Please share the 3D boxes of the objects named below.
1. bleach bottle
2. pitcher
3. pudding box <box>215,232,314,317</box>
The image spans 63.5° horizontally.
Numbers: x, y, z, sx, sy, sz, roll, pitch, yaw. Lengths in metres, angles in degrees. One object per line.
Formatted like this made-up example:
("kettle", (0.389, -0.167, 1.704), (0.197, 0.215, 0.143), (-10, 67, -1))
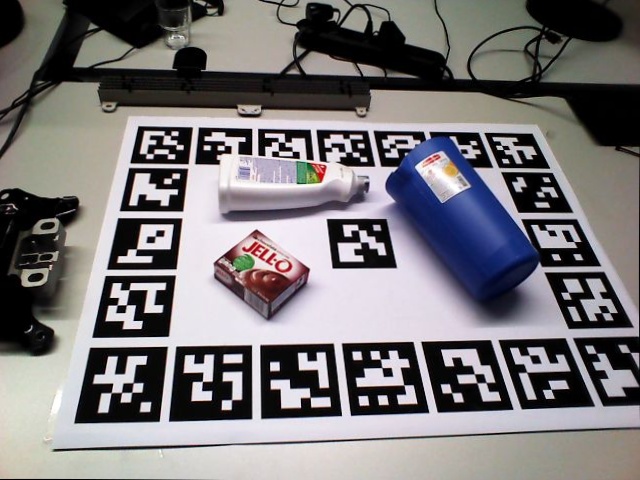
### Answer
("bleach bottle", (-0.032, -0.094, 0.851), (0.251, 0.068, 0.102), (-1, 56, -9))
("pitcher", (0.236, -0.020, 0.798), (0.188, 0.134, 0.242), (4, 47, -48))
("pudding box", (-0.081, 0.046, 0.744), (0.114, 0.039, 0.089), (38, 52, 20))
